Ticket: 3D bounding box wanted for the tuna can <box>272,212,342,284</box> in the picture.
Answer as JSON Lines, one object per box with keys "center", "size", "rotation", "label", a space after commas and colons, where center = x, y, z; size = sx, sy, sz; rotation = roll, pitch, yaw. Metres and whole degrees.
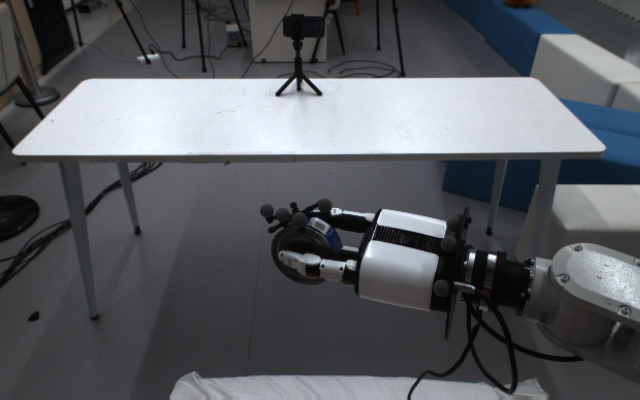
{"center": [-0.013, 0.067, 0.610], "size": [0.085, 0.085, 0.034], "rotation": [13, 28, 15], "label": "tuna can"}
